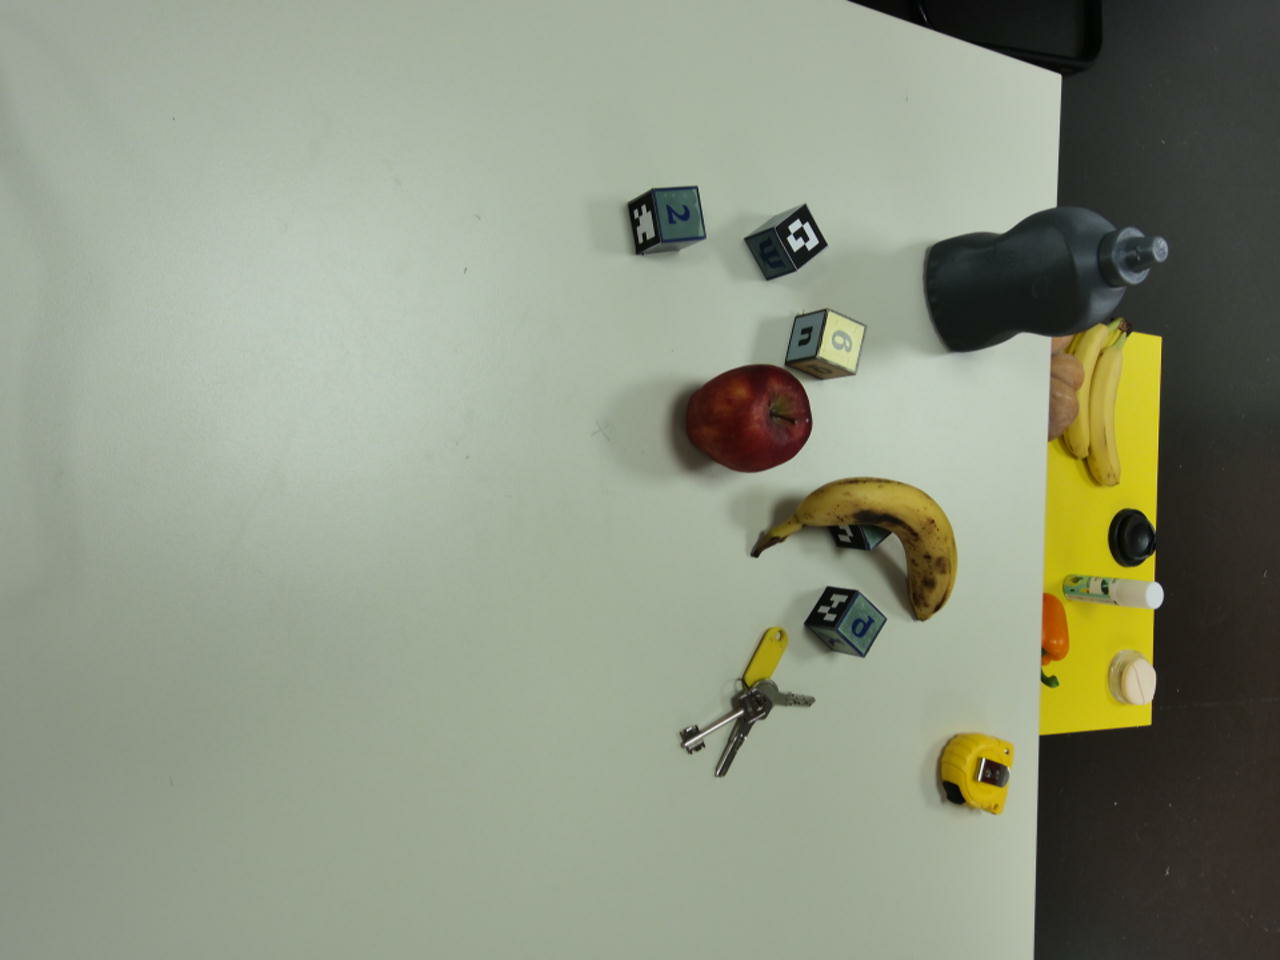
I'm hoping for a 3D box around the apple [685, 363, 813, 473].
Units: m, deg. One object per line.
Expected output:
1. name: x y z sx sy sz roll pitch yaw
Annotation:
1. apple: 0.079 -0.044 0.701 0.083 0.090 0.083 0 90 -28
